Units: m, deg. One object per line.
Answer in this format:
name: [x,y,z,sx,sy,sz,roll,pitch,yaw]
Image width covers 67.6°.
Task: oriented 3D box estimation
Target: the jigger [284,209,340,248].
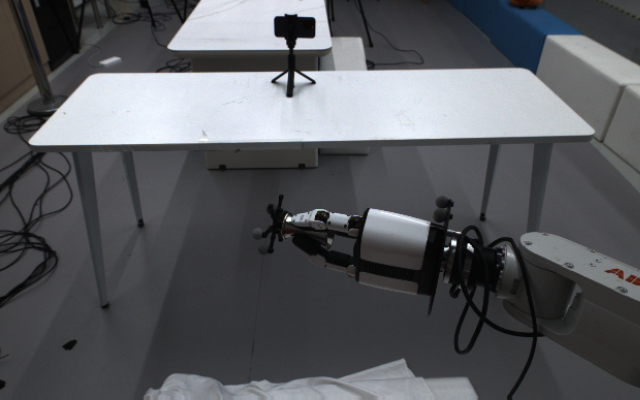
jigger: [-0.010,0.038,0.692,0.071,0.043,0.043,9,35,16]
